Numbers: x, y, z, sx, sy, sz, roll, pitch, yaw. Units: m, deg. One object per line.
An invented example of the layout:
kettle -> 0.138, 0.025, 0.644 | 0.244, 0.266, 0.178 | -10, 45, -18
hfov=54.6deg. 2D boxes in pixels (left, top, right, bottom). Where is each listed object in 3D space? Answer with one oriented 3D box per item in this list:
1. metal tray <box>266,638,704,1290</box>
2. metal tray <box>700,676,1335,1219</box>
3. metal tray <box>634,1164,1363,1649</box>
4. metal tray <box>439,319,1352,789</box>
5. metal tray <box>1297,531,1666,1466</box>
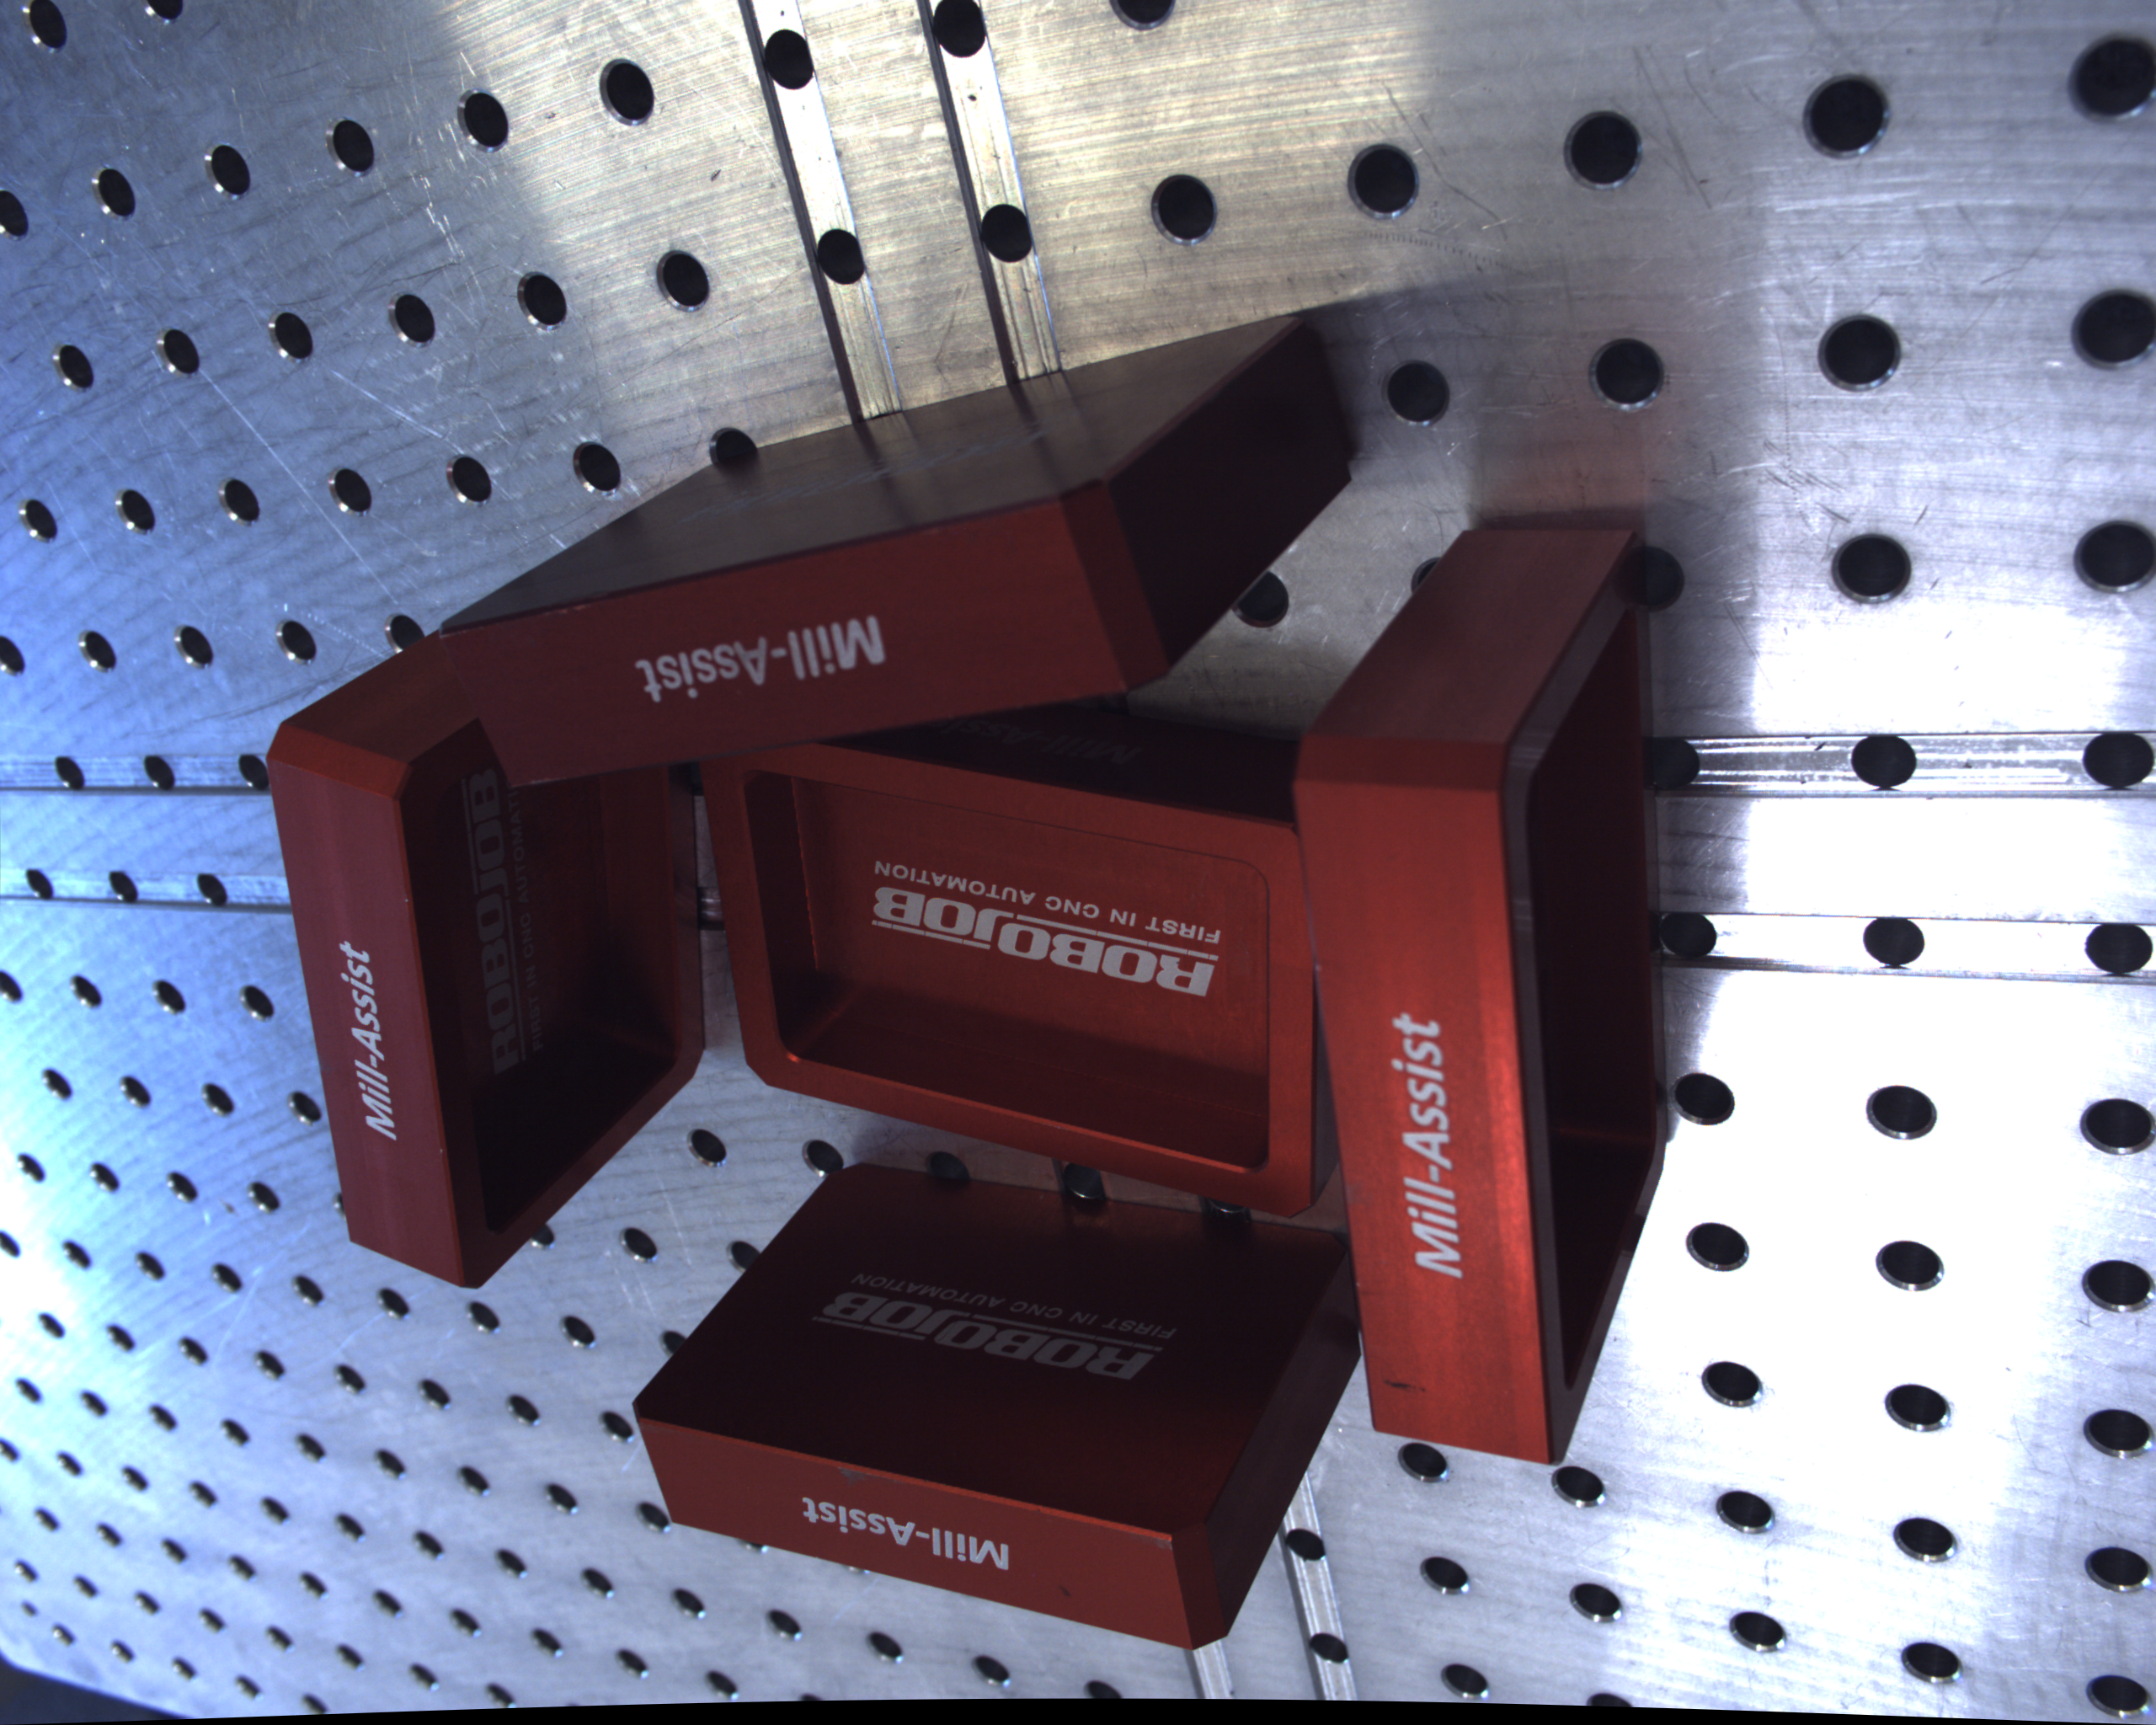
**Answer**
metal tray -> -0.119, 0.013, 0.441 | 0.030, 0.090, 0.129 | 17, 125, 19
metal tray -> -0.009, 0.015, 0.421 | 0.130, 0.030, 0.089 | 11, 123, 22
metal tray -> -0.015, 0.110, 0.446 | 0.130, 0.090, 0.030 | 4, 120, 26
metal tray -> -0.030, -0.052, 0.353 | 0.130, 0.090, 0.030 | -6, 115, 31
metal tray -> 0.071, 0.021, 0.344 | 0.030, 0.090, 0.129 | 4, 120, 26
